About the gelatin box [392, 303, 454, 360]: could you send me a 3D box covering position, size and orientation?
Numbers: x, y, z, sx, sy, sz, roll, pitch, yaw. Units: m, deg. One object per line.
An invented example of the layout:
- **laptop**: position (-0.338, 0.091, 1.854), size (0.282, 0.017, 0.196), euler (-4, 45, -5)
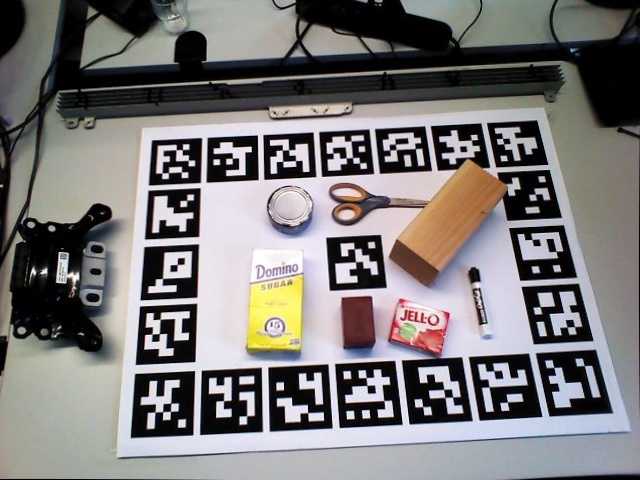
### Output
- **gelatin box**: position (0.175, 0.155, 0.879), size (0.089, 0.030, 0.073), euler (16, 71, 7)

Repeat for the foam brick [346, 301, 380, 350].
- **foam brick**: position (0.071, 0.145, 0.869), size (0.053, 0.051, 0.077), euler (0, 70, 1)

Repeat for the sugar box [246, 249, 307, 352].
- **sugar box**: position (-0.072, 0.104, 0.895), size (0.093, 0.045, 0.175), euler (3, 70, 1)

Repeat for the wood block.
- **wood block**: position (0.242, -0.019, 0.915), size (0.090, 0.091, 0.205), euler (40, 74, 15)

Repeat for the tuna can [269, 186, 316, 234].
- **tuna can**: position (-0.050, -0.054, 0.955), size (0.086, 0.034, 0.085), euler (0, 70, 1)

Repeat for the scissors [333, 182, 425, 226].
- **scissors**: position (0.123, -0.063, 0.969), size (0.203, 0.016, 0.087), euler (5, 70, 5)

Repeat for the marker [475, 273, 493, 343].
- **marker**: position (0.284, 0.116, 0.896), size (0.020, 0.020, 0.120), euler (0, 72, 0)
